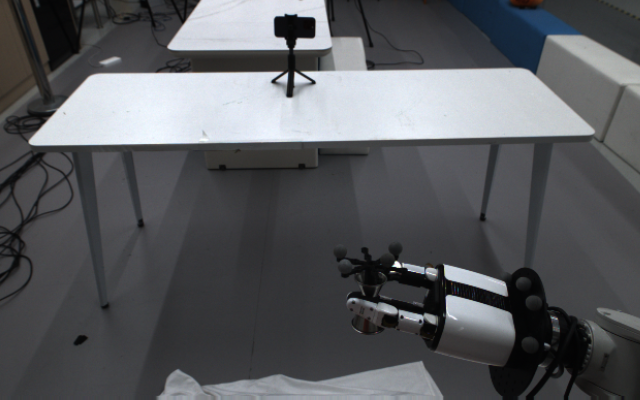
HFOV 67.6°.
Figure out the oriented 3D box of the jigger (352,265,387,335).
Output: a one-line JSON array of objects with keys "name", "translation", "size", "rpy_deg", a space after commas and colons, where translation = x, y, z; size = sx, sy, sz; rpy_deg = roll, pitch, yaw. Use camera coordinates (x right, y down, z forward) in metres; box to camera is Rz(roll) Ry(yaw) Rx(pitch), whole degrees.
[{"name": "jigger", "translation": [0.061, 0.125, 0.602], "size": [0.043, 0.071, 0.043], "rpy_deg": [0, 21, 0]}]
